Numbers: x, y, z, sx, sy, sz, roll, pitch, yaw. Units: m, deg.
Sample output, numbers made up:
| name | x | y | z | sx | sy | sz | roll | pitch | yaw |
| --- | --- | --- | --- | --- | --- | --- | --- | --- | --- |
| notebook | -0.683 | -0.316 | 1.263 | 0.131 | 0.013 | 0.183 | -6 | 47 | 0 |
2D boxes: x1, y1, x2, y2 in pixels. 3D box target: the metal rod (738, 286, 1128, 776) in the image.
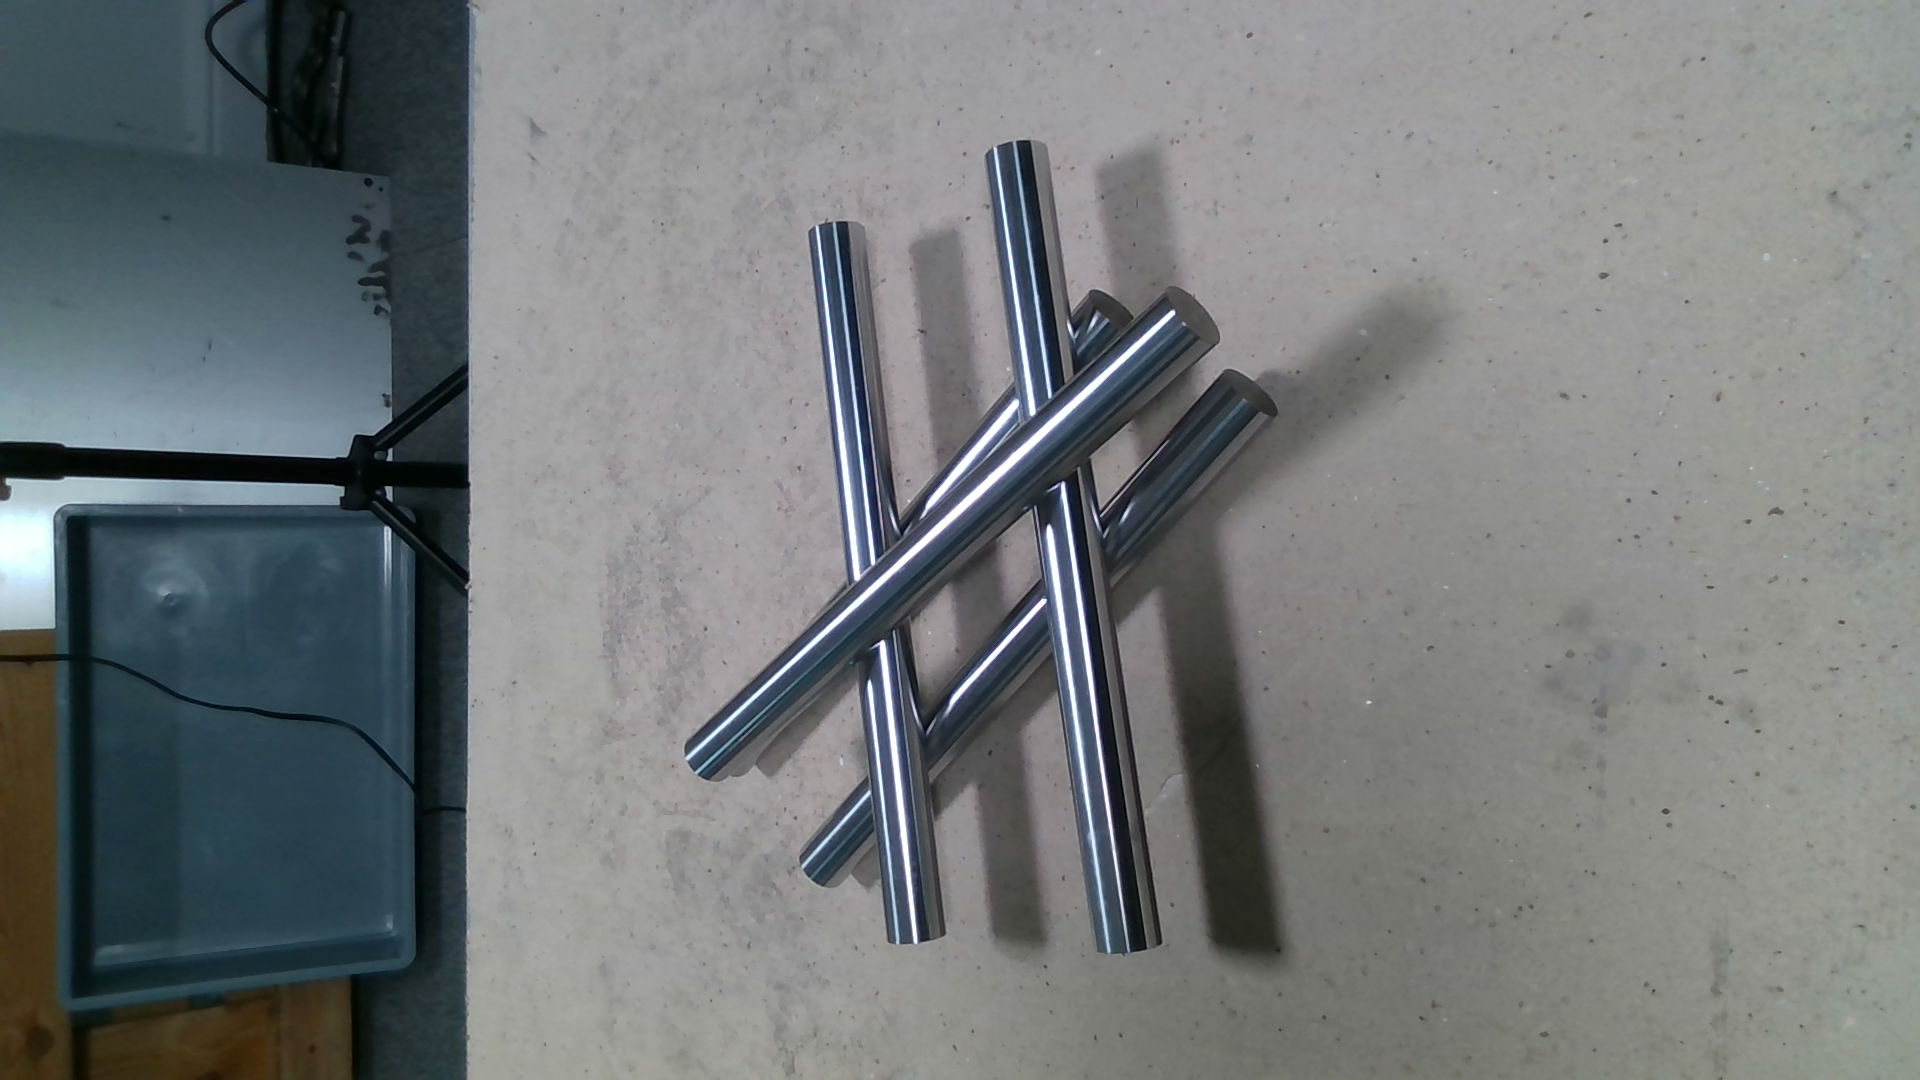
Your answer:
| name | x | y | z | sx | sy | sz | roll | pitch | yaw |
| --- | --- | --- | --- | --- | --- | --- | --- | --- | --- |
| metal rod | -0.028 | 0.009 | 0.605 | 0.301 | 0.025 | 0.025 | -48 | 61 | 30 |

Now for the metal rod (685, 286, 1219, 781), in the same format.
| name | x | y | z | sx | sy | sz | roll | pitch | yaw |
| --- | --- | --- | --- | --- | --- | --- | --- | --- | --- |
| metal rod | -0.018 | 0.011 | 0.532 | 0.301 | 0.025 | 0.025 | -42 | 65 | 33 |

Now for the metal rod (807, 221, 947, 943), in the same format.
| name | x | y | z | sx | sy | sz | roll | pitch | yaw |
| --- | --- | --- | --- | --- | --- | --- | --- | --- | --- |
| metal rod | -0.036 | 0.015 | 0.580 | 0.025 | 0.025 | 0.300 | -11 | 83 | 40 |

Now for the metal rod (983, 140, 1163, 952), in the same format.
| name | x | y | z | sx | sy | sz | roll | pitch | yaw |
| --- | --- | --- | --- | --- | --- | --- | --- | --- | --- |
| metal rod | 0.041 | -0.001 | 0.515 | 0.025 | 0.025 | 0.300 | -12 | 82 | 40 |

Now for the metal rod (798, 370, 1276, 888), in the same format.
| name | x | y | z | sx | sy | sz | roll | pitch | yaw |
| --- | --- | --- | --- | --- | --- | --- | --- | --- | --- |
| metal rod | 0.020 | 0.049 | 0.565 | 0.301 | 0.025 | 0.025 | -50 | 60 | 29 |
